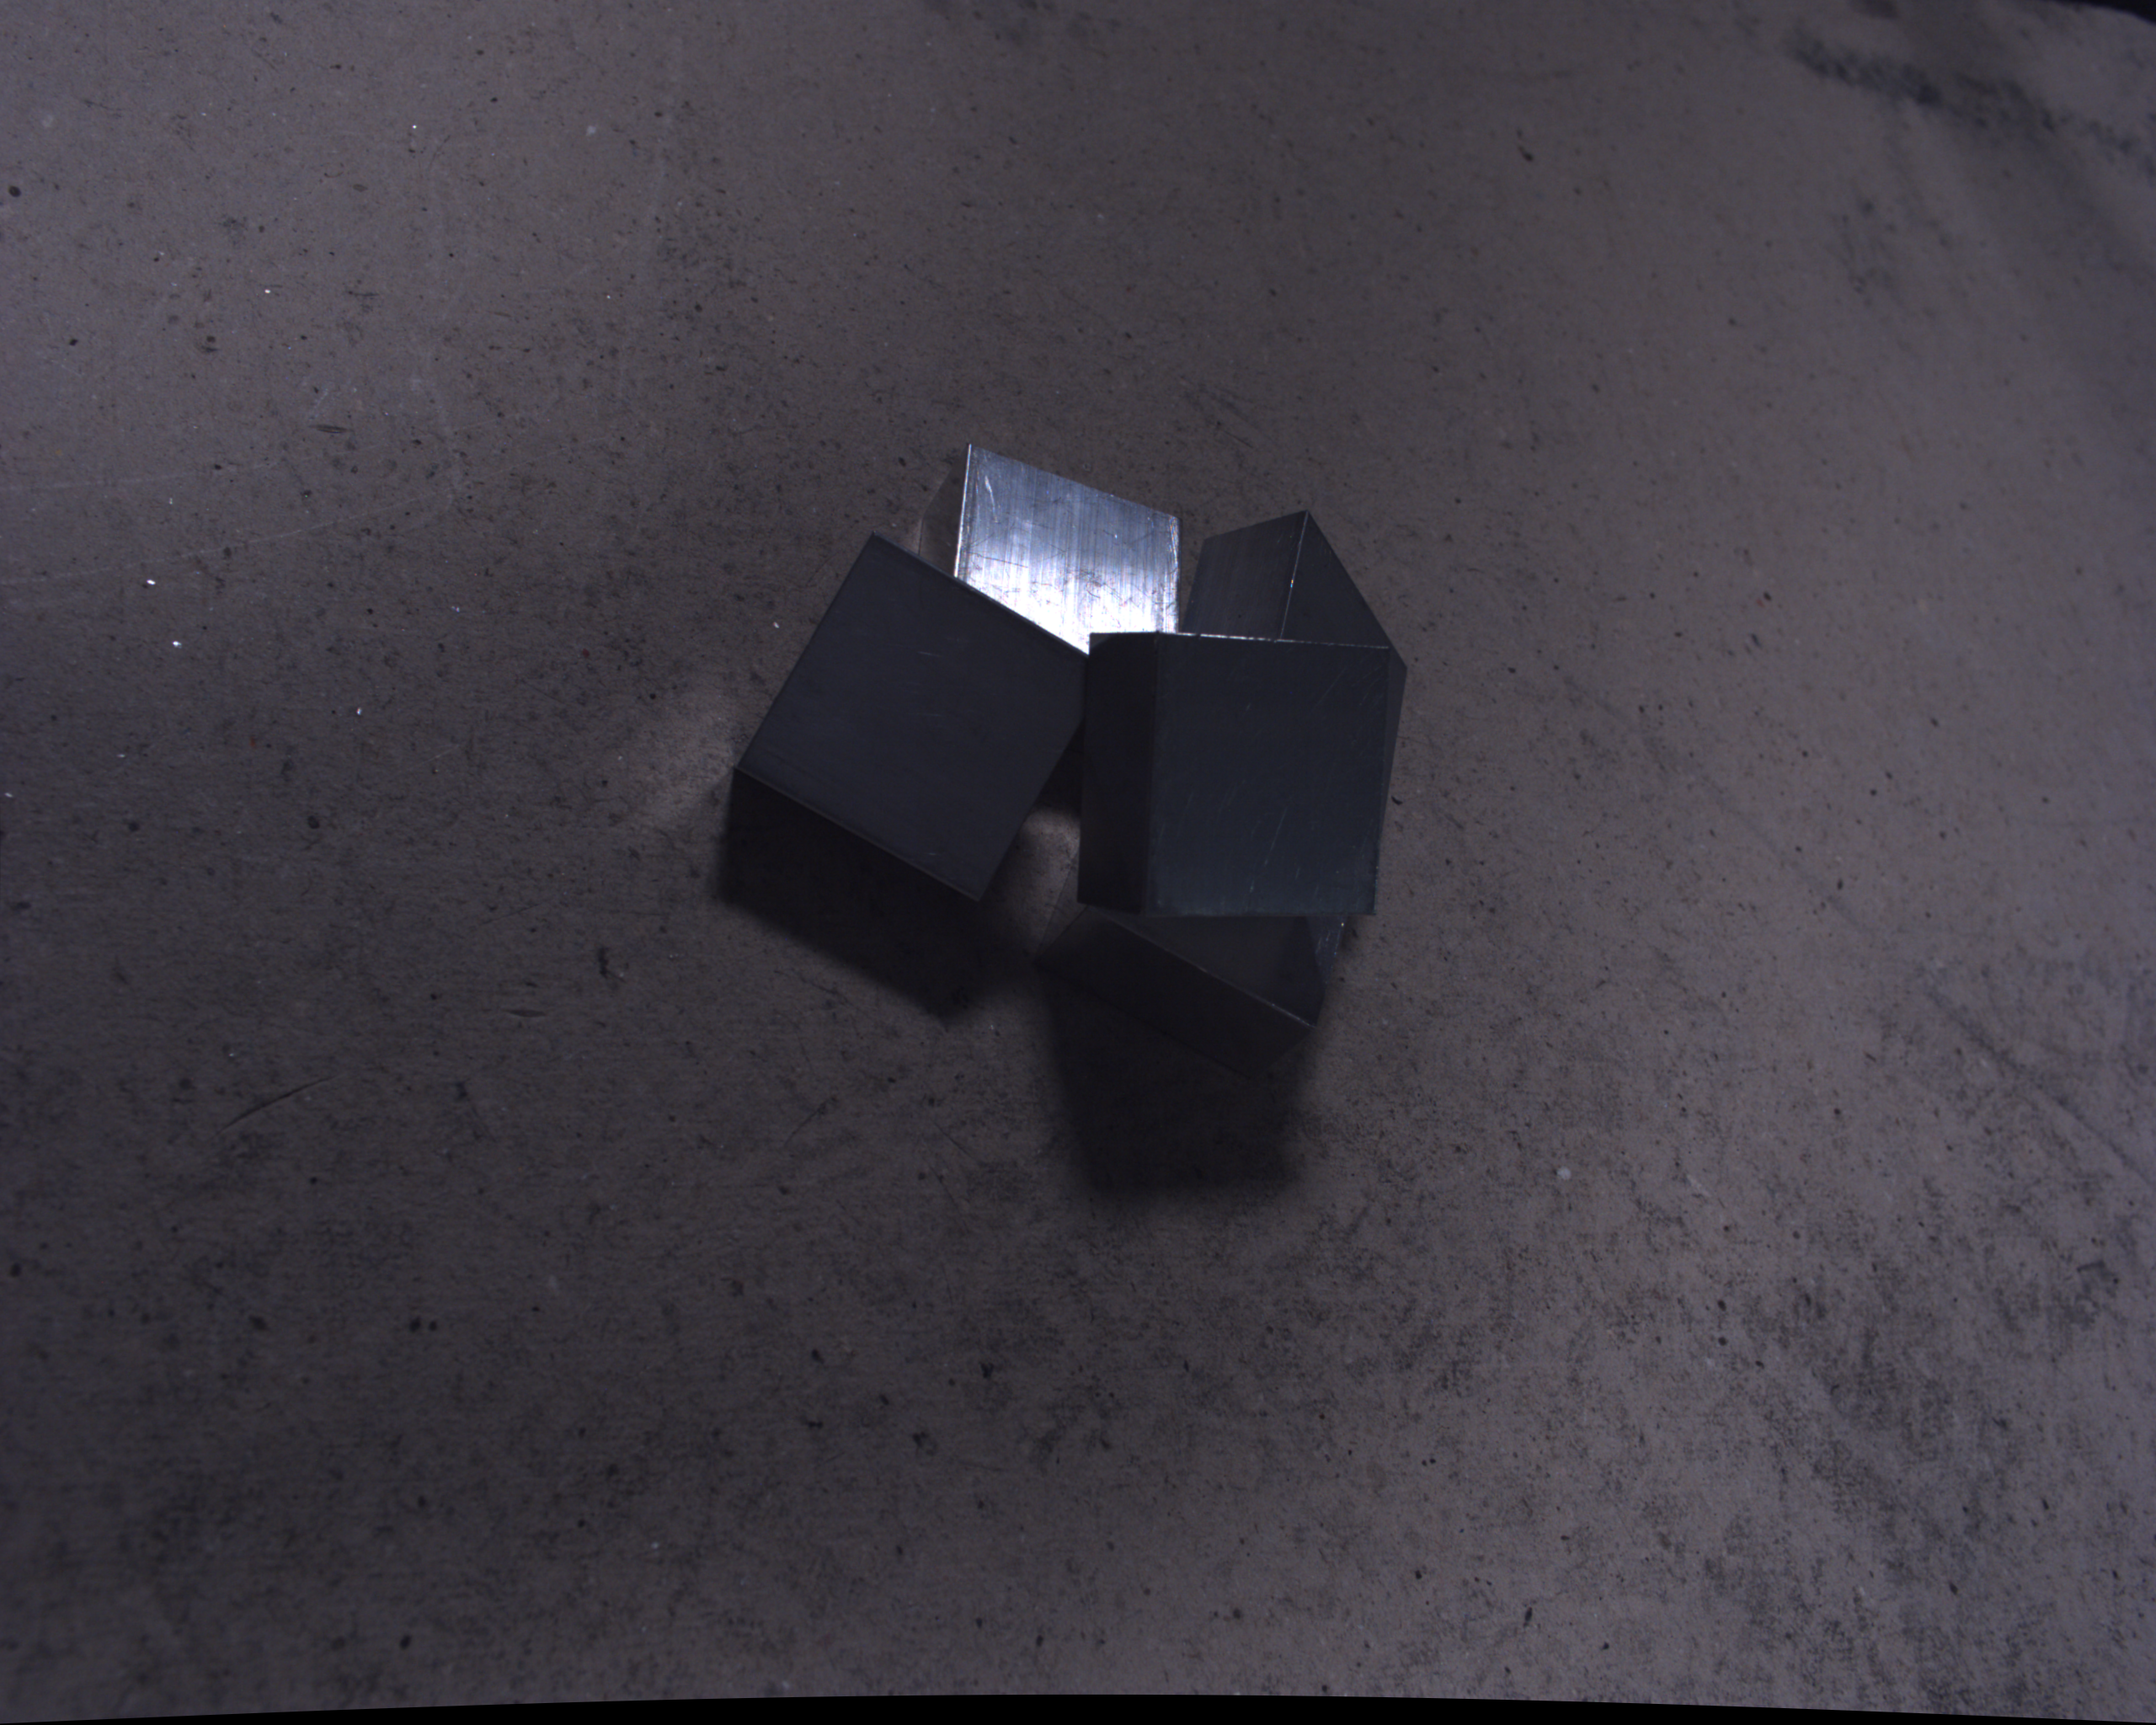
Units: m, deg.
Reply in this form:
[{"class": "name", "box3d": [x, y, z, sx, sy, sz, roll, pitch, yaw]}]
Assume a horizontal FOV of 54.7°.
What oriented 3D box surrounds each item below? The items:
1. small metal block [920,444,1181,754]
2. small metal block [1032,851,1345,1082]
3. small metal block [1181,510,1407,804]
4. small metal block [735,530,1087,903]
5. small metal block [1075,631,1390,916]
[{"class": "small metal block", "box3d": [-0.007, -0.053, 0.436, 0.050, 0.025, 0.050, 16, 55, -20]}, {"class": "small metal block", "box3d": [0.025, 0.008, 0.416, 0.050, 0.025, 0.050, 29, 52, -10]}, {"class": "small metal block", "box3d": [0.044, -0.037, 0.439, 0.050, 0.025, 0.050, 50, 42, -38]}, {"class": "small metal block", "box3d": [-0.030, -0.027, 0.392, 0.050, 0.025, 0.050, 30, 88, -11]}, {"class": "small metal block", "box3d": [0.029, -0.016, 0.386, 0.050, 0.025, 0.050, 0, 94, -29]}]
